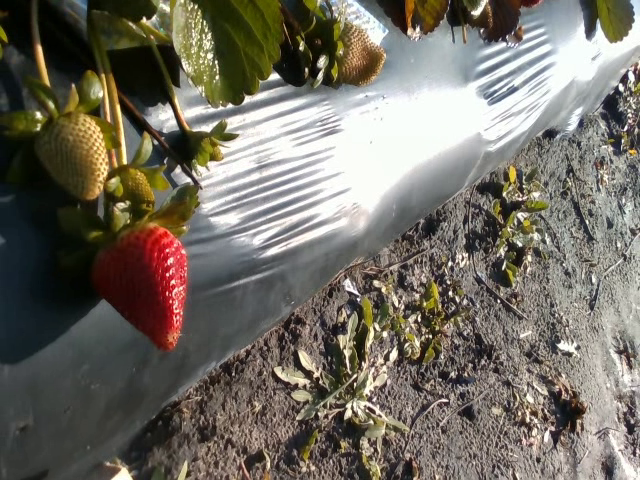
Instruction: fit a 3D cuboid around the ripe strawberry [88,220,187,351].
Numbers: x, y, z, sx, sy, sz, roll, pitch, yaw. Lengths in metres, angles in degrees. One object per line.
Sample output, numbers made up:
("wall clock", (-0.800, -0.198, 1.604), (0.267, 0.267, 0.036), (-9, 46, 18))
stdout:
("ripe strawberry", (-0.072, 0.021, 0.249), (0.042, 0.059, 0.042), (-19, -7, 30))
